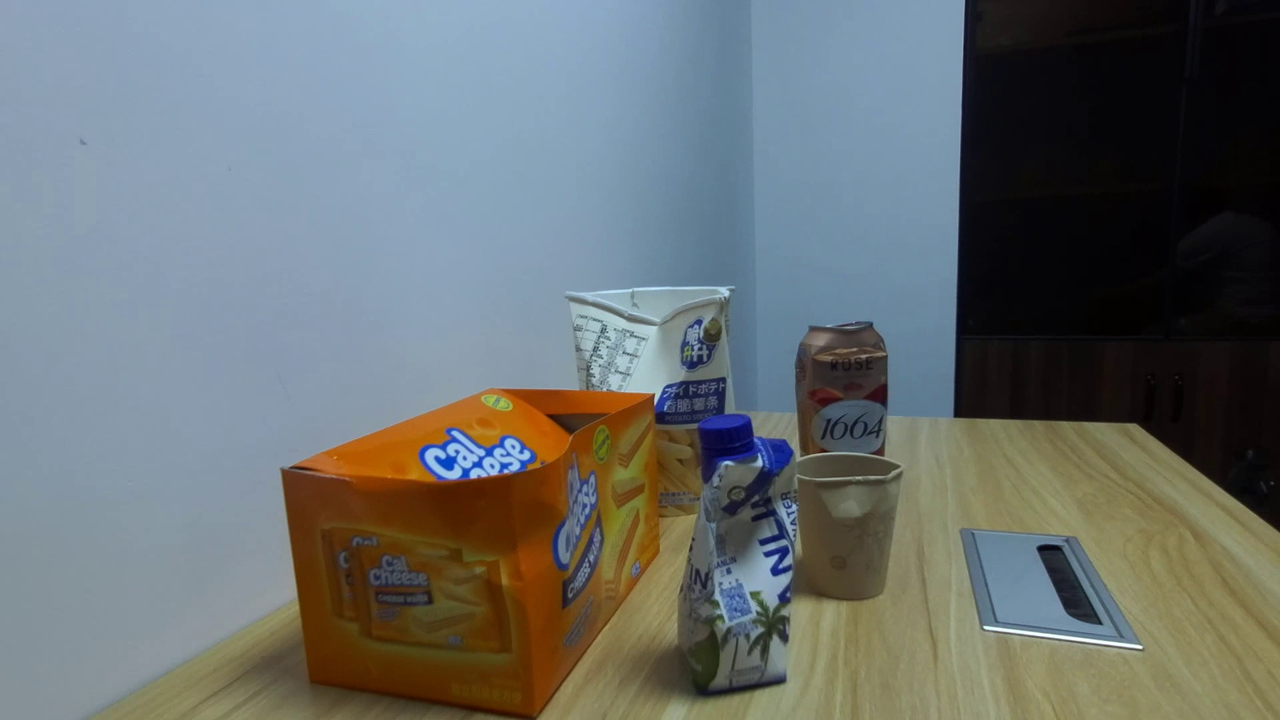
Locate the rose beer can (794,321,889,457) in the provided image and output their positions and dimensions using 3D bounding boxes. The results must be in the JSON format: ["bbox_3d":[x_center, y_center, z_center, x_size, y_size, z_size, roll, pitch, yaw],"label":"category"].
[{"bbox_3d":[0.174,0.052,0.606,0.076,0.167,0.065,-3,5,9],"label":"rose beer can"}]

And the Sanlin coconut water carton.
[{"bbox_3d":[0.059,0.102,0.378,0.068,0.144,0.056,4,14,-13],"label":"Sanlin coconut water carton"}]

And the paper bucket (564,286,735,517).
[{"bbox_3d":[0.013,0.031,0.679,0.162,0.202,0.169,-3,6,10],"label":"paper bucket"}]

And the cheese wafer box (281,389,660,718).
[{"bbox_3d":[-0.085,0.104,0.460,0.152,0.132,0.231,2,9,18],"label":"cheese wafer box"}]

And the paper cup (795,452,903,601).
[{"bbox_3d":[0.139,0.112,0.481,0.068,0.081,0.074,5,11,38],"label":"paper cup"}]
